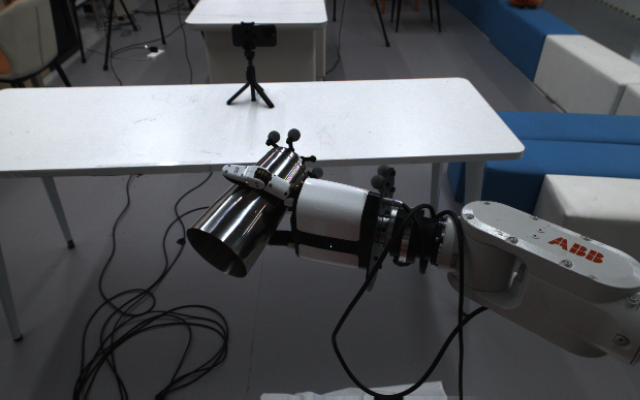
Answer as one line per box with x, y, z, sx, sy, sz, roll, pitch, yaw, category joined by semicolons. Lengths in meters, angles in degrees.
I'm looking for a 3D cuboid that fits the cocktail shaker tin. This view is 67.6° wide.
-0.084;0.004;0.639;0.093;0.093;0.170;19;55;22;cocktail shaker tin
